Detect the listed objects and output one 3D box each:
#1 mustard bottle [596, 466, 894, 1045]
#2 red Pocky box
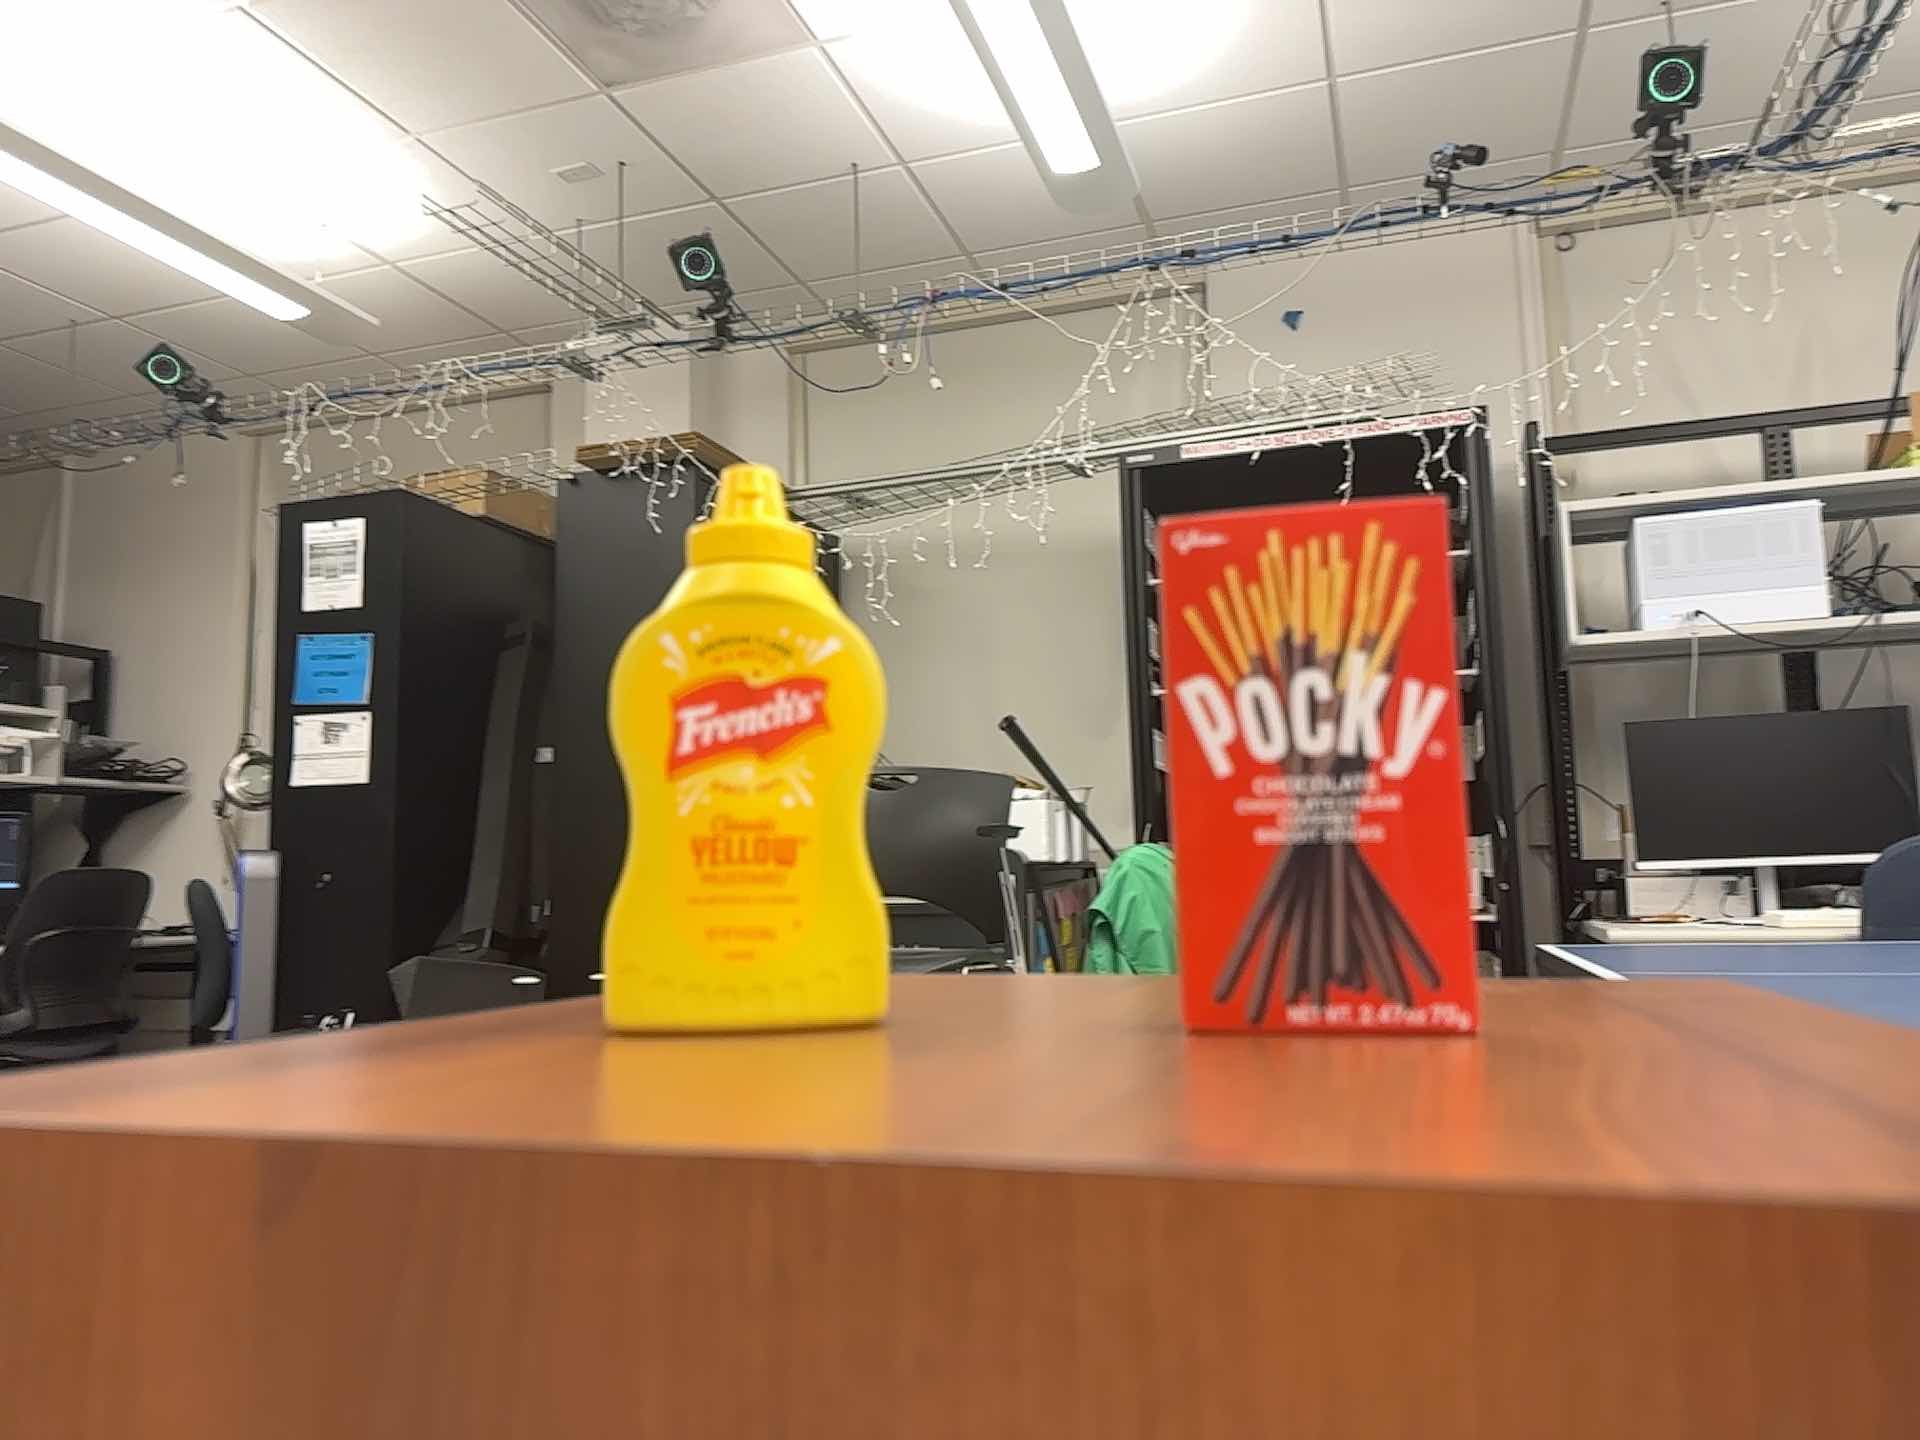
[{"bbox_3d":[-0.068,0.008,0.429,0.092,0.184,0.054,-1,-10,0],"label":"mustard bottle"},{"bbox_3d":[0.100,0.014,0.388,0.083,0.155,0.028,-3,-9,13],"label":"red Pocky box"}]
